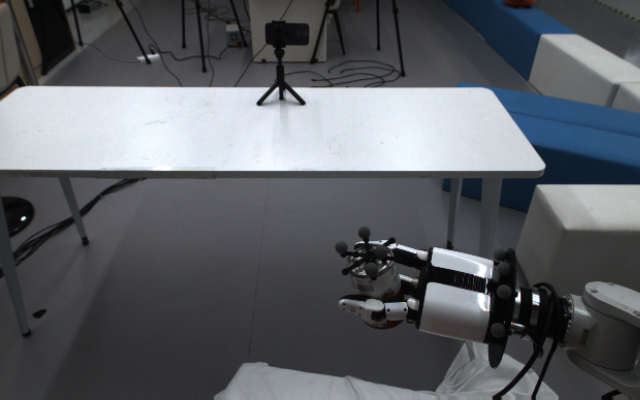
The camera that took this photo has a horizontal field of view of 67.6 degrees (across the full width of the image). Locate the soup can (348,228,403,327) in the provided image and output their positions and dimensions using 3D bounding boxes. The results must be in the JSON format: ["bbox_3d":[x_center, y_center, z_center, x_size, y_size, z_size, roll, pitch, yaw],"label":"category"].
[{"bbox_3d":[0.082,0.121,0.675,0.067,0.101,0.067,-13,31,8],"label":"soup can"}]
